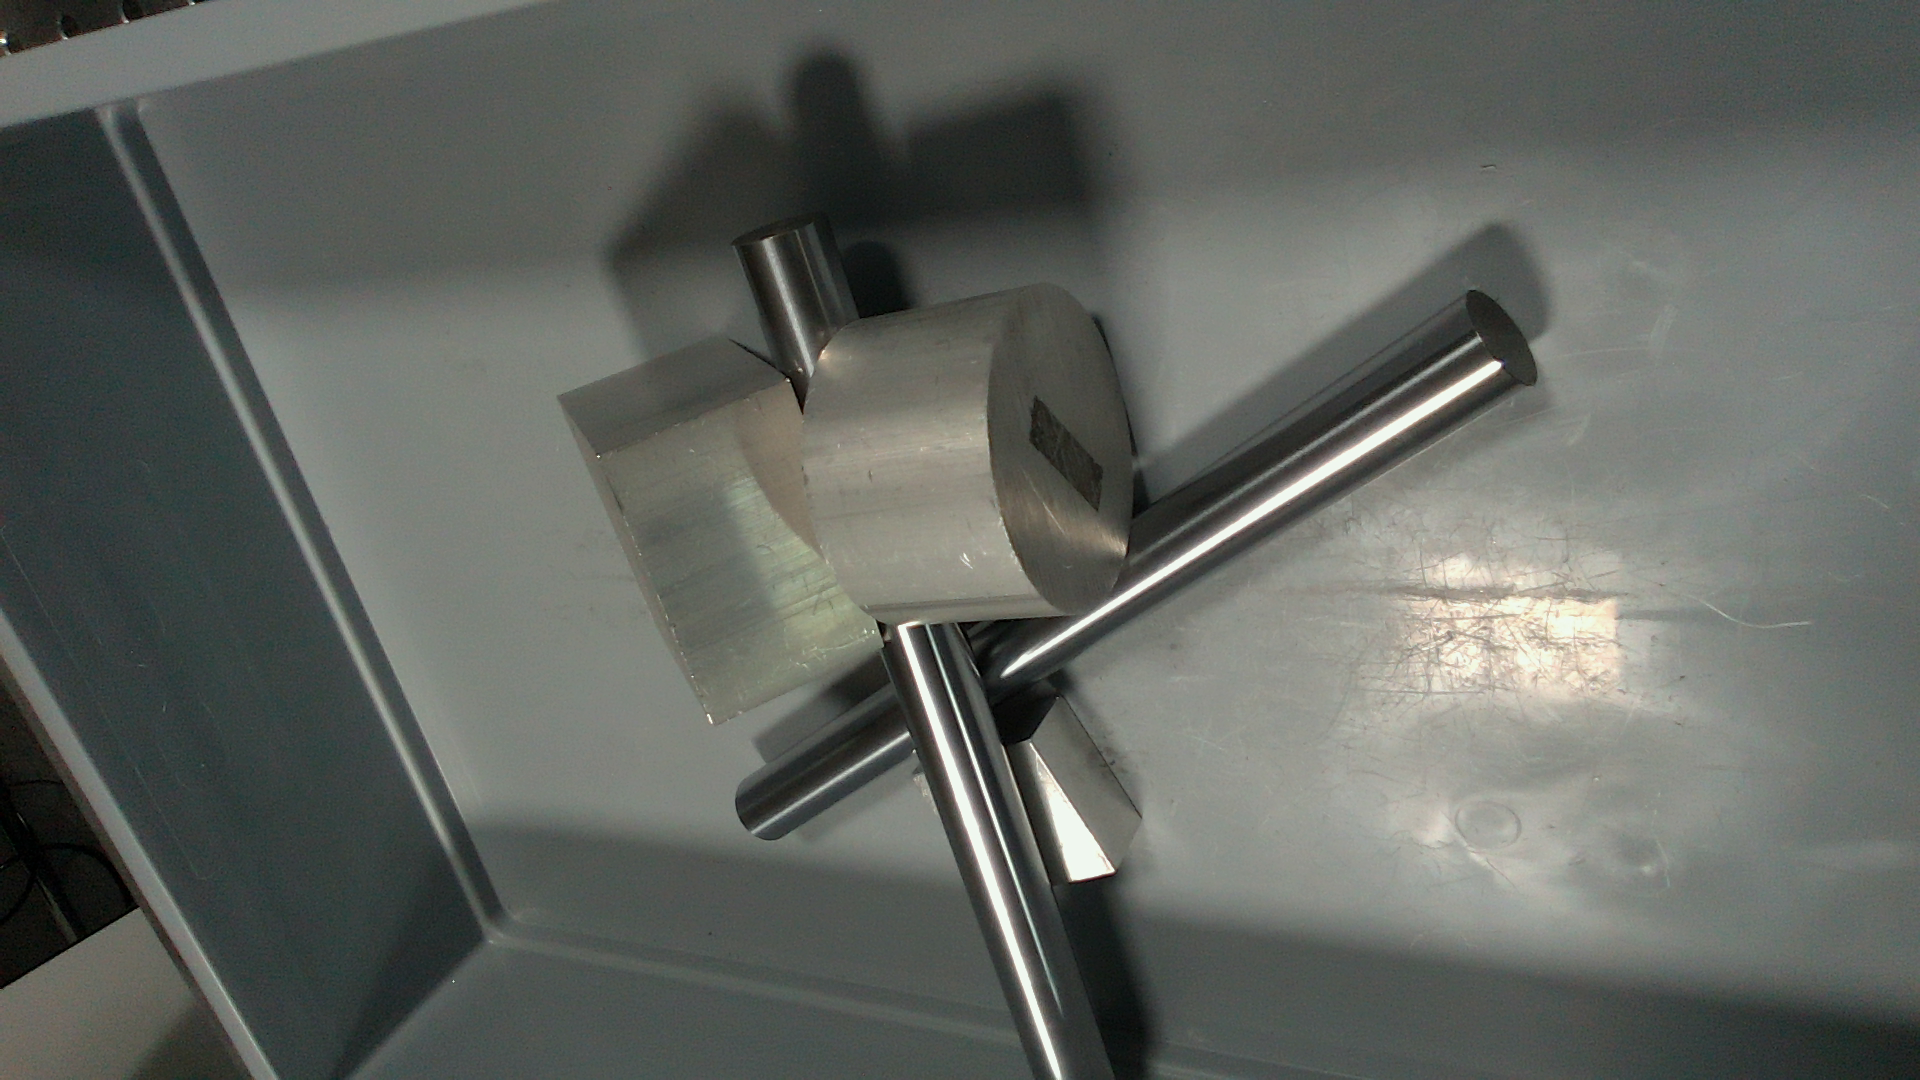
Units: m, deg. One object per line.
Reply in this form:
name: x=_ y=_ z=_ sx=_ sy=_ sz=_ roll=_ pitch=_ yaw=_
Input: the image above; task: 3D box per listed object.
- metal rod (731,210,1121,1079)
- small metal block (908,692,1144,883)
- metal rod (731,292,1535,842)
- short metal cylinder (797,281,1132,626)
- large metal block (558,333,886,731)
metal rod: x=0.000 y=0.056 z=0.393 sx=0.025 sy=0.025 sz=0.300 roll=-5 pitch=115 yaw=31
small metal block: x=0.021 y=0.081 z=0.431 sx=0.050 sy=0.025 sz=0.050 roll=-23 pitch=106 yaw=36
metal rod: x=0.024 y=0.026 z=0.394 sx=0.025 sy=0.025 sz=0.299 roll=49 pitch=129 yaw=-6
short metal cylinder: x=0.004 y=-0.020 z=0.341 sx=0.050 sy=0.080 sz=0.080 roll=-5 pitch=116 yaw=29
large metal block: x=-0.068 y=-0.006 z=0.383 sx=0.080 sy=0.050 sz=0.080 roll=35 pitch=146 yaw=62
